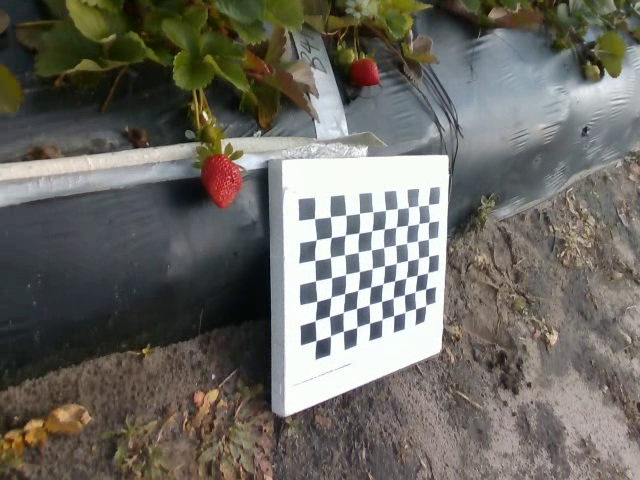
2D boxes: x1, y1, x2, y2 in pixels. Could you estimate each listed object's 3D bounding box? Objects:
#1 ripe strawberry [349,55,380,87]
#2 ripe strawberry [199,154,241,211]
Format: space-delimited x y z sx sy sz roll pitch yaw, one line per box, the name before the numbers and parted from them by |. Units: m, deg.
ripe strawberry | 0.055 -0.190 0.652 0.037 0.031 0.048 10 36 -44
ripe strawberry | -0.085 -0.049 0.476 0.030 0.053 0.047 -16 -41 31
